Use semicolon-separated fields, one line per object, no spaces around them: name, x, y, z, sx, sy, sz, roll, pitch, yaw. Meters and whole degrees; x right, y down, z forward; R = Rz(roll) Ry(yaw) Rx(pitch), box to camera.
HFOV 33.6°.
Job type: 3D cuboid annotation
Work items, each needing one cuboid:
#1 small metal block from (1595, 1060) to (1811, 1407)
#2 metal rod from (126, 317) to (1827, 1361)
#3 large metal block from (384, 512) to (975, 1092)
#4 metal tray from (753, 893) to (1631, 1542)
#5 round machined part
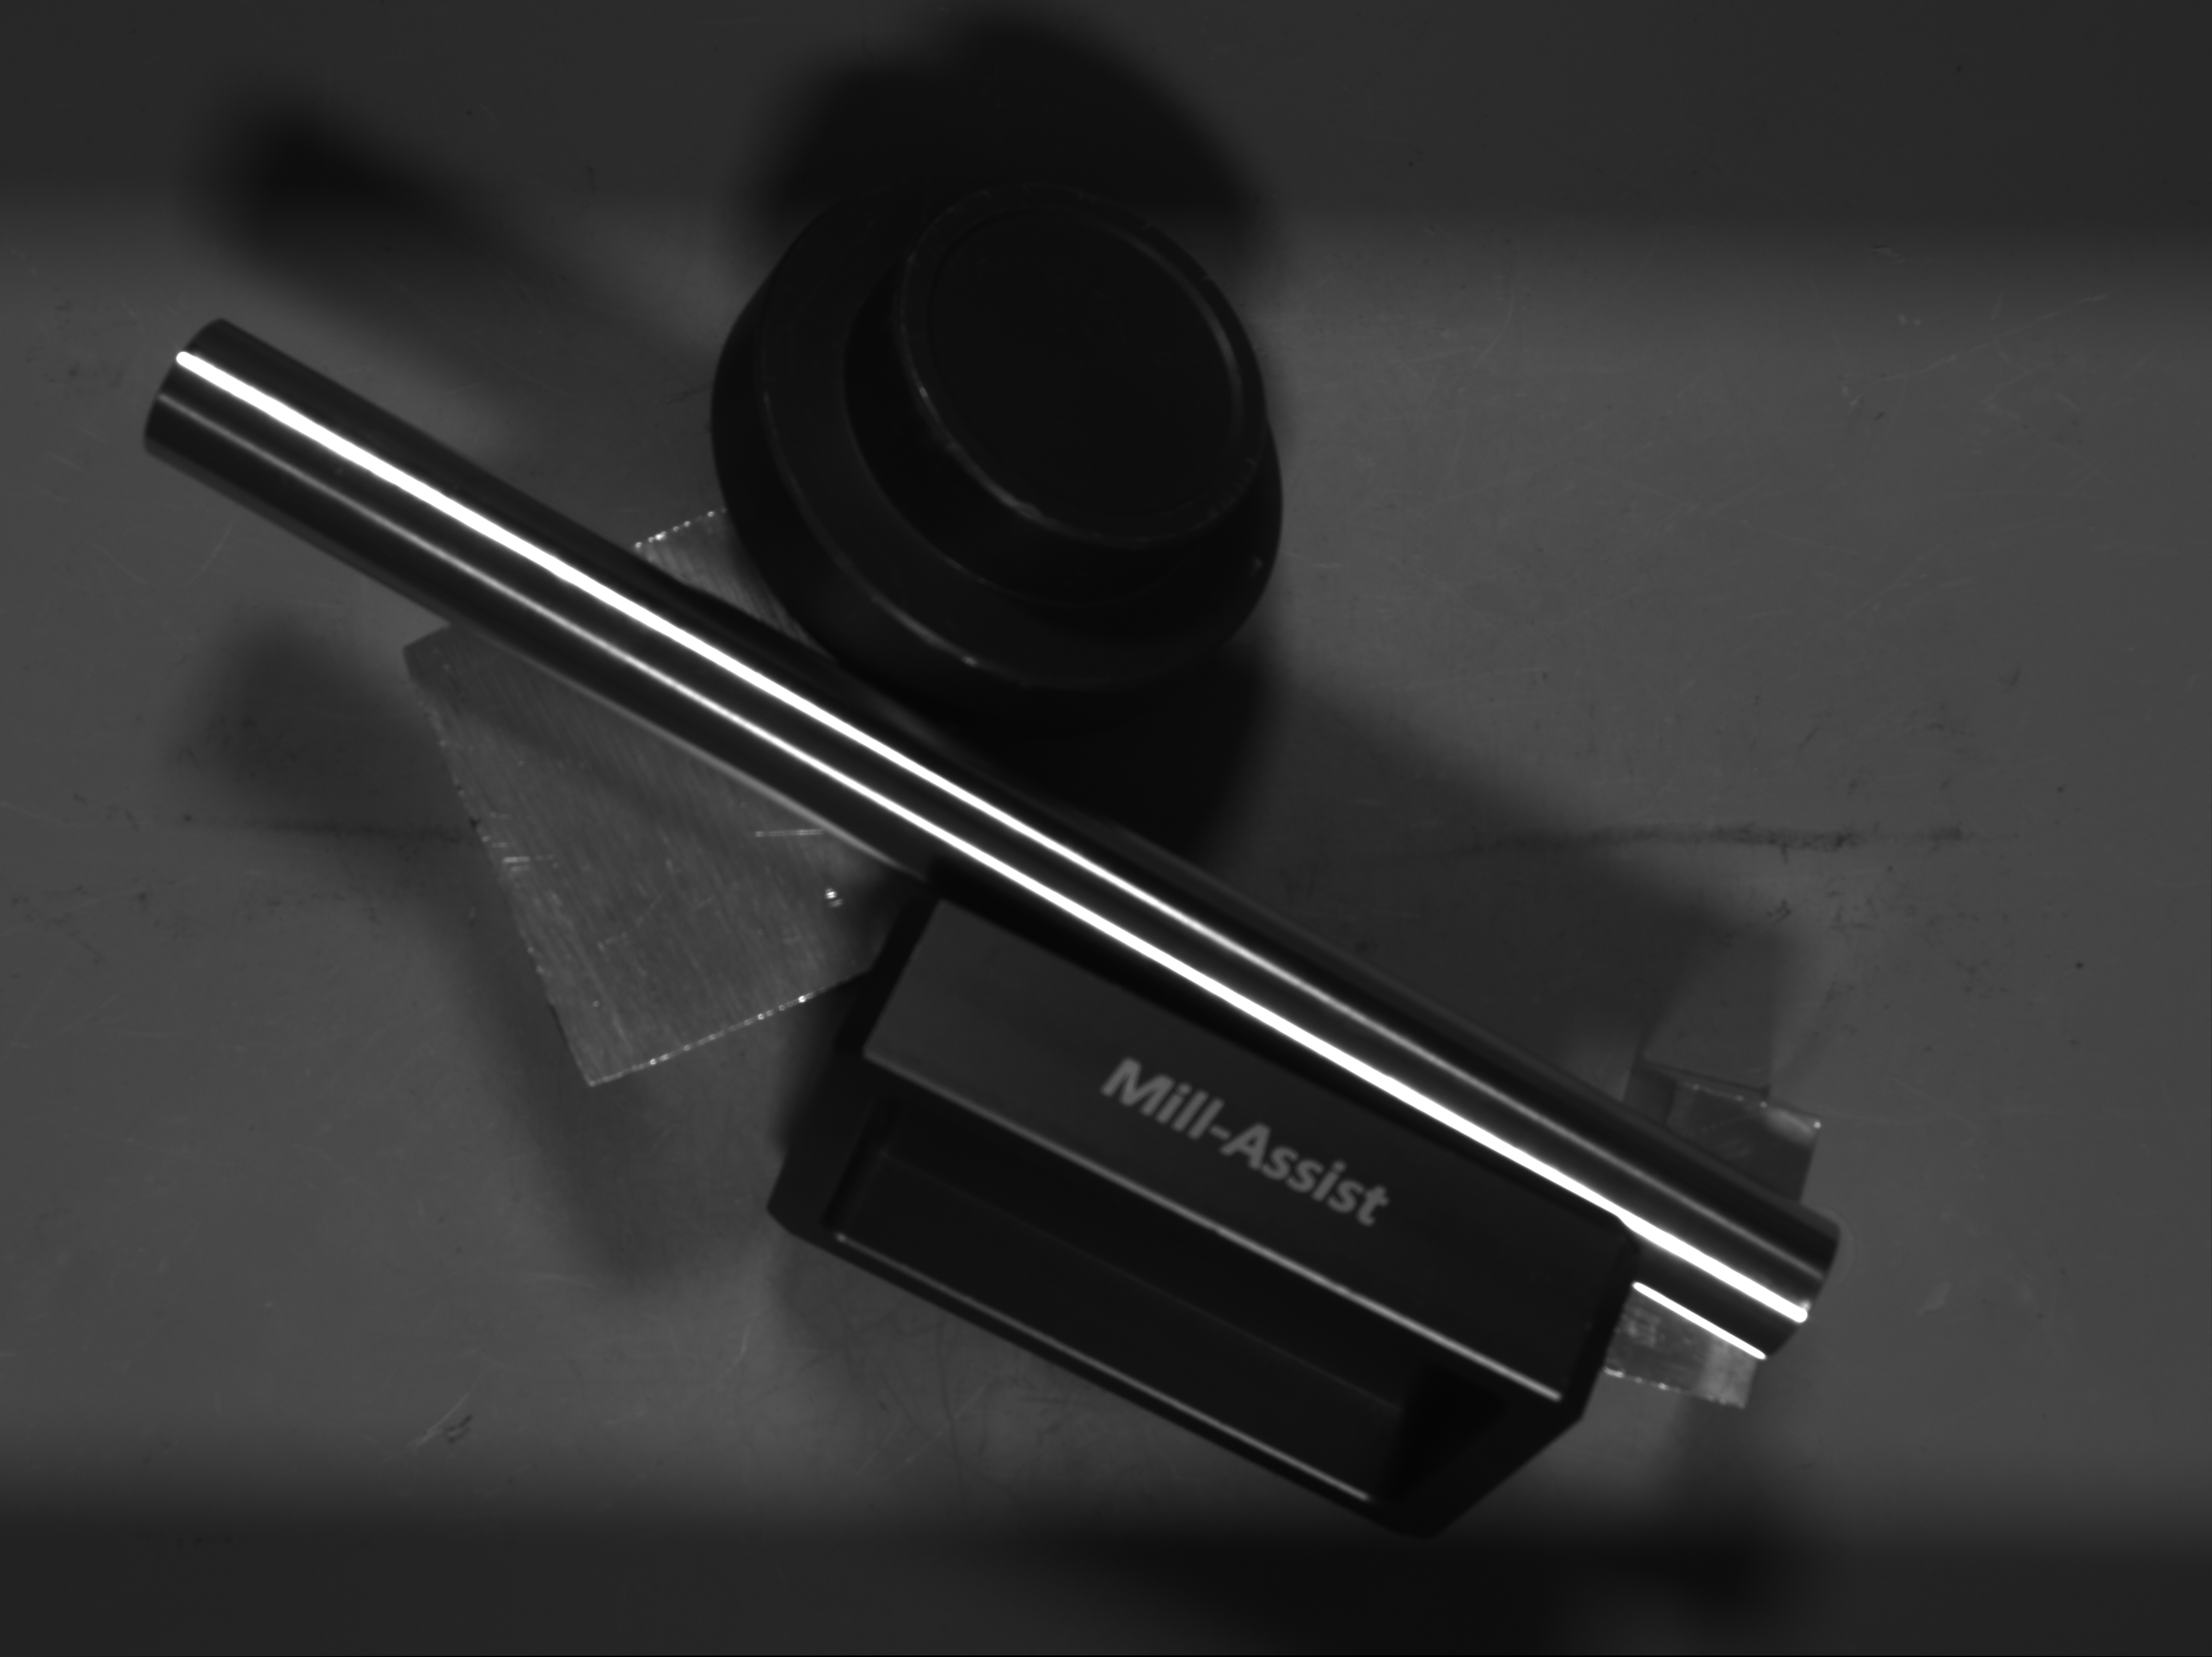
small metal block;0.099;0.069;0.632;0.025;0.050;0.050;14;90;0
metal rod;-0.020;0.002;0.593;0.300;0.025;0.025;29;90;0
large metal block;-0.067;-0.009;0.631;0.080;0.050;0.080;-22;90;0
metal tray;0.011;0.067;0.608;0.130;0.090;0.030;27;62;-1
round machined part;-0.014;-0.068;0.610;0.098;0.042;0.098;14;59;-25
